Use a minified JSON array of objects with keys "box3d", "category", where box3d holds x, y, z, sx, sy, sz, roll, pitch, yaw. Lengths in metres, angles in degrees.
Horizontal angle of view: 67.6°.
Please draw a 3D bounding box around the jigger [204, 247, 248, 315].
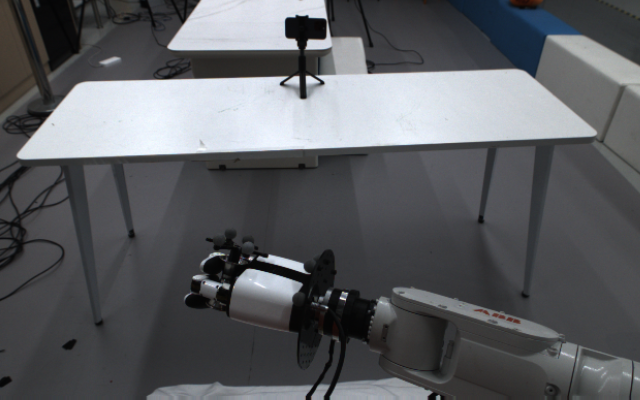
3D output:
[{"box3d":[-0.127,0.114,0.668,0.043,0.071,0.043,17,2,-1],"category":"jigger"}]
